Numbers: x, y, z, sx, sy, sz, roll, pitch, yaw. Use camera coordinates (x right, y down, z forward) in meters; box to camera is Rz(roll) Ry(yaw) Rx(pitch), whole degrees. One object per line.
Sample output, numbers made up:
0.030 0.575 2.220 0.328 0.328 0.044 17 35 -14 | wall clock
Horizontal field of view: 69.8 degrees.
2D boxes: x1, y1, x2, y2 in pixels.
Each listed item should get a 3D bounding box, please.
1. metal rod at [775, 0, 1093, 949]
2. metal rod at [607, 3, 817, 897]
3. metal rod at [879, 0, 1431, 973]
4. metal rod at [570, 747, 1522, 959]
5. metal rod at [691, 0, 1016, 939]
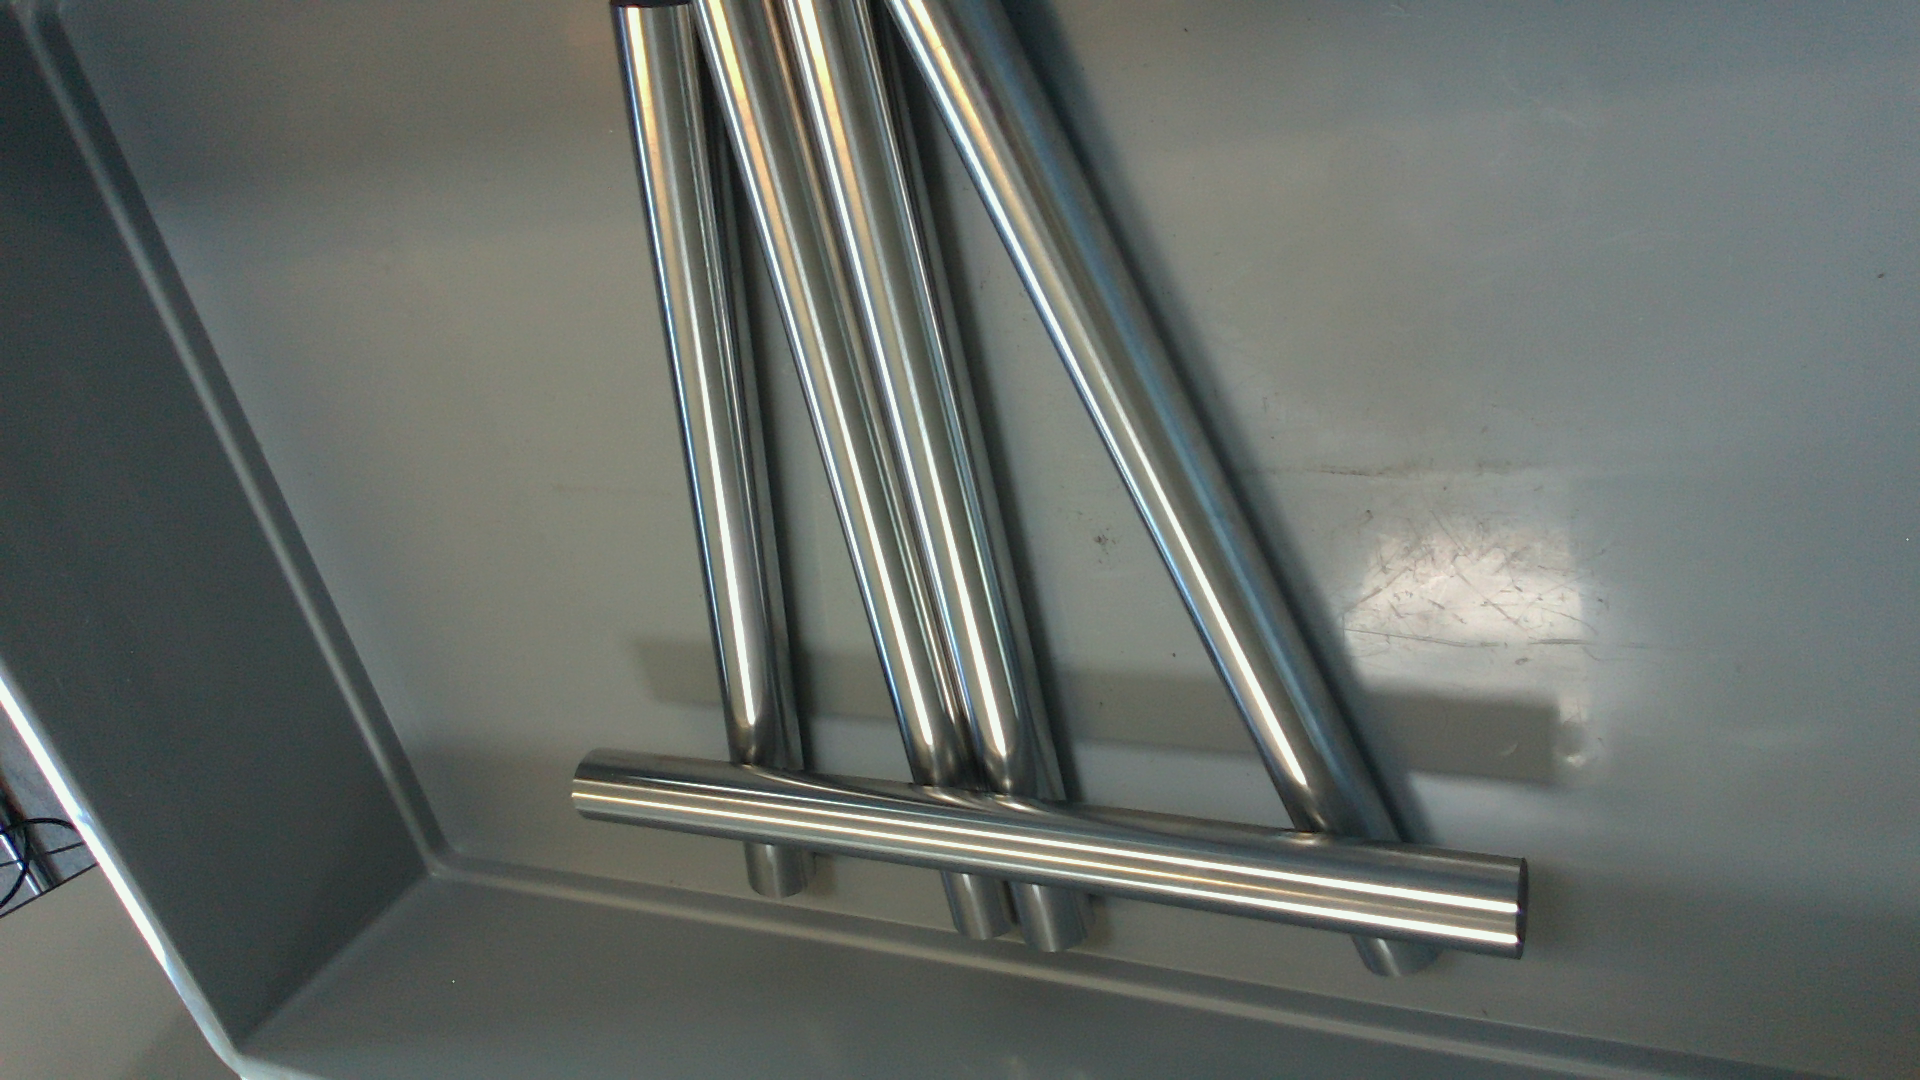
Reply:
-0.001 -0.006 0.389 0.025 0.025 0.300 1 119 28 | metal rod
-0.071 -0.008 0.425 0.025 0.025 0.300 11 123 22 | metal rod
0.057 -0.011 0.355 0.025 0.025 0.300 -17 110 35 | metal rod
0.005 0.087 0.409 0.299 0.025 0.025 1 119 28 | metal rod
-0.022 -0.006 0.400 0.025 0.025 0.300 1 119 28 | metal rod
